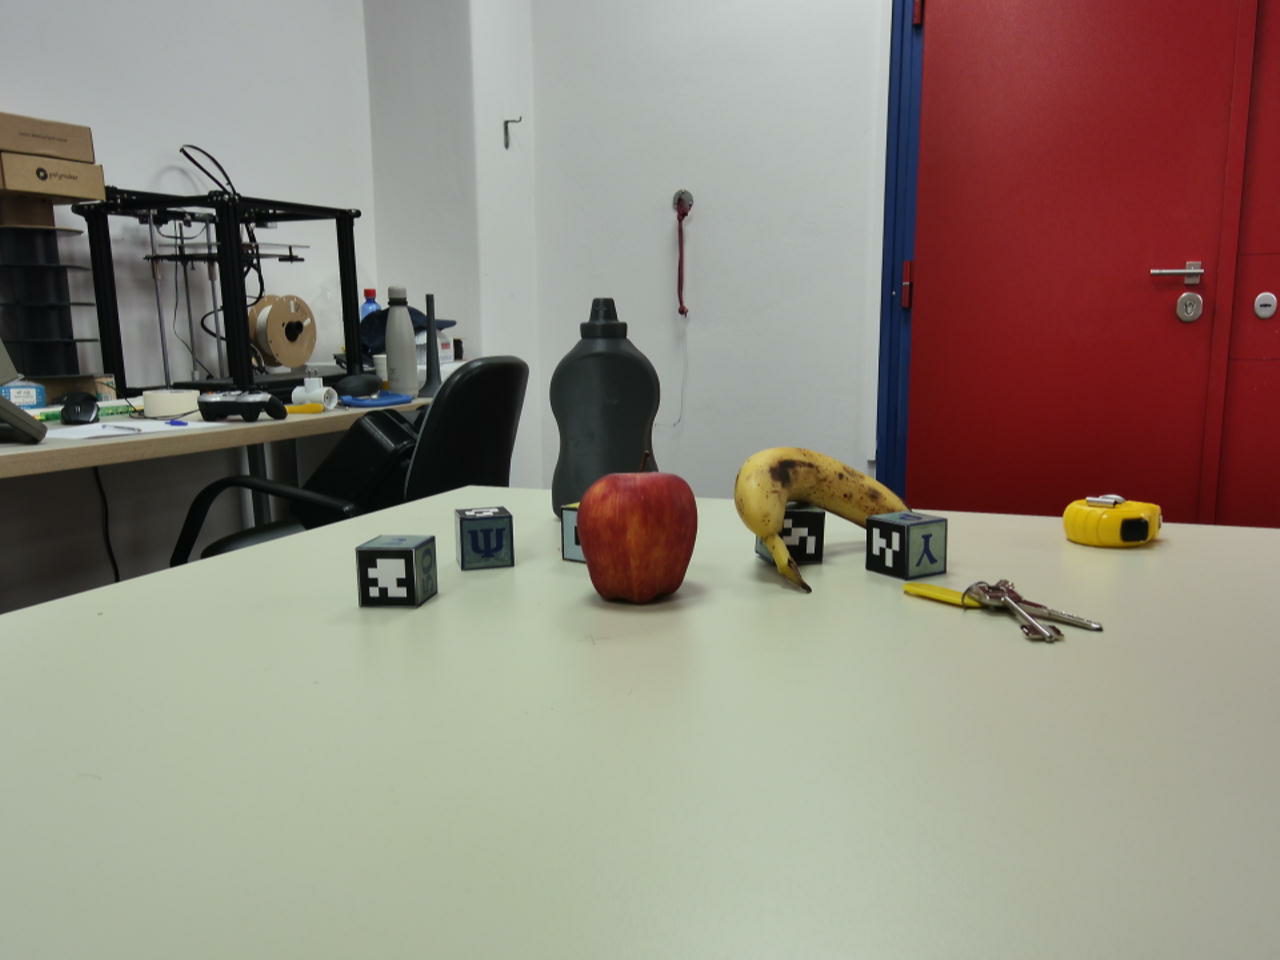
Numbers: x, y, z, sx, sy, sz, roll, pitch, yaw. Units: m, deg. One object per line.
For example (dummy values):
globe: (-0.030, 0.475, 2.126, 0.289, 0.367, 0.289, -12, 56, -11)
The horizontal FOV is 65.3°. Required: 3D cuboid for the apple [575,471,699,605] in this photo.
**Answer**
apple: (-0.001, 0.027, 0.621, 0.083, 0.090, 0.083, -1, 7, 0)
